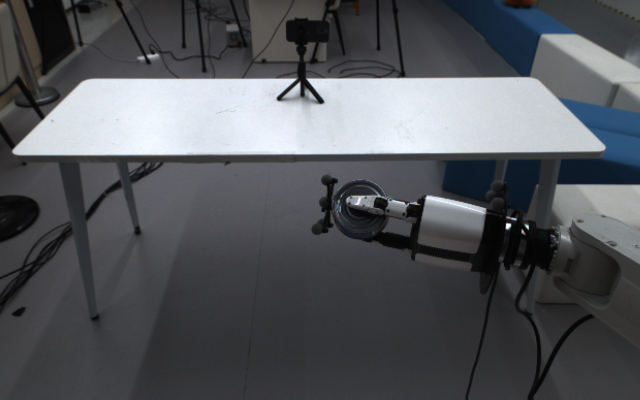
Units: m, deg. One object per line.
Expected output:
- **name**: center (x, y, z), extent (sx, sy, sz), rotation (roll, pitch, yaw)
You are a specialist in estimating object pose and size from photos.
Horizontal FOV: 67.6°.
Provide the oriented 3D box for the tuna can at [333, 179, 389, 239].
- **tuna can**: center (0.063, 0.016, 0.715), extent (0.085, 0.034, 0.085), rotation (-2, 69, 6)
